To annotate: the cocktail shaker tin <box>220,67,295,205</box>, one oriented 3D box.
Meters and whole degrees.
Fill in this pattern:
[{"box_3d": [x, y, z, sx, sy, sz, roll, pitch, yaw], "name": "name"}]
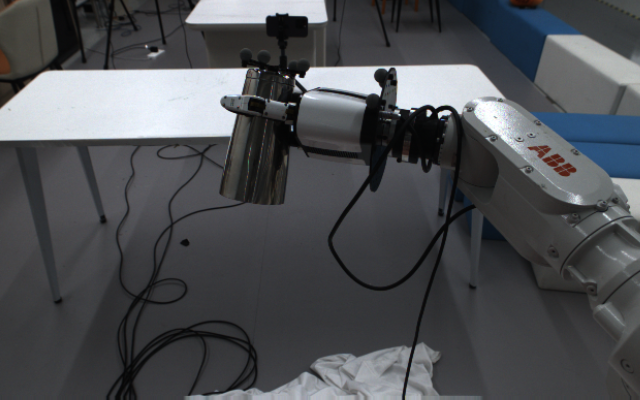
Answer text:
[{"box_3d": [-0.077, -0.089, 0.662, 0.093, 0.170, 0.093, 10, 9, -2], "name": "cocktail shaker tin"}]
